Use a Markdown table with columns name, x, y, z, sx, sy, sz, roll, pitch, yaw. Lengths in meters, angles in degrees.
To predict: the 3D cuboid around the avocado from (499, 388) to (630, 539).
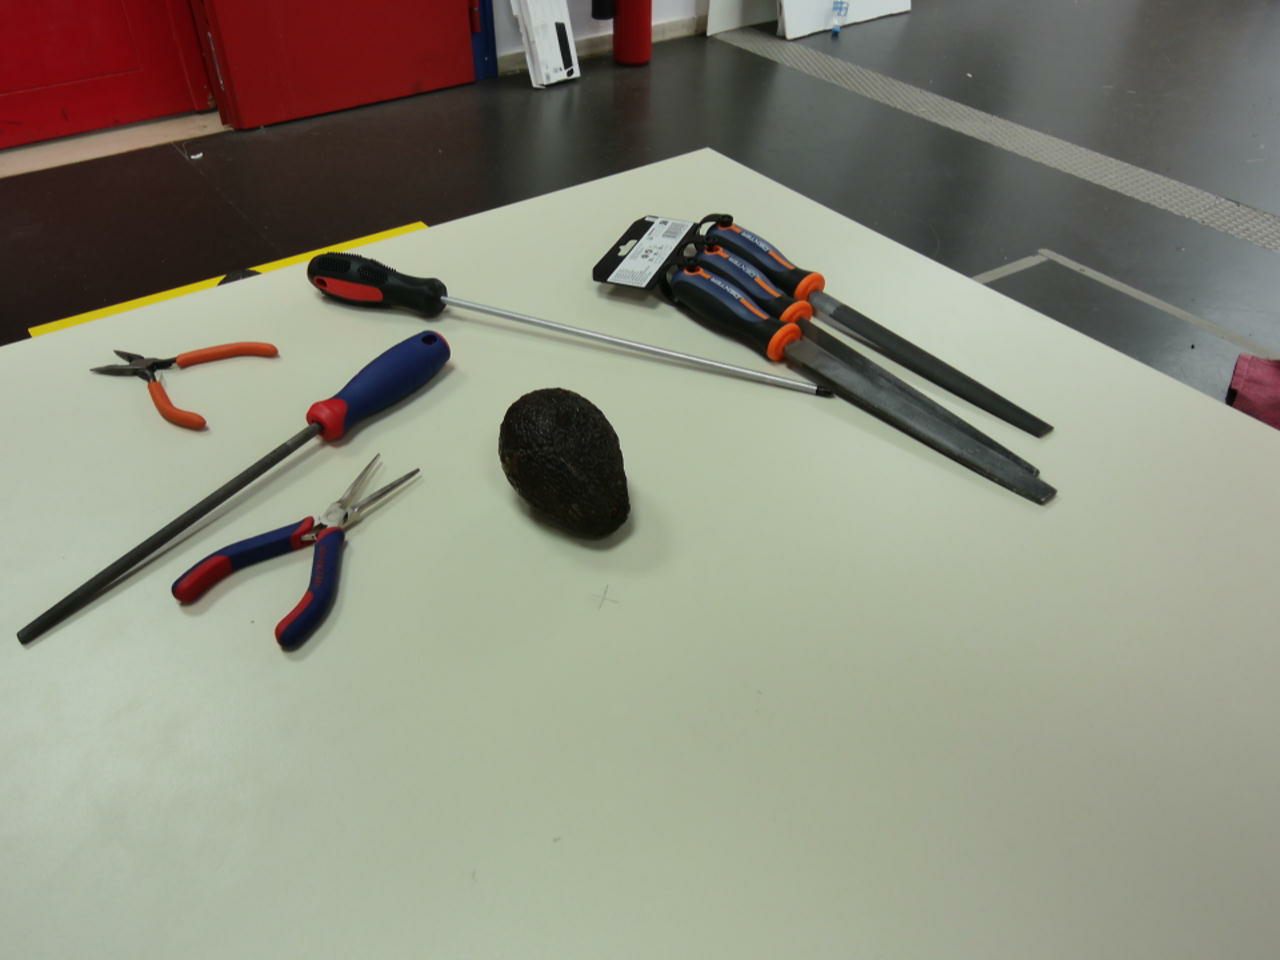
| name | x | y | z | sx | sy | sz | roll | pitch | yaw |
| --- | --- | --- | --- | --- | --- | --- | --- | --- | --- |
| avocado | -0.045 | -0.012 | 0.575 | 0.070 | 0.069 | 0.090 | -6 | 39 | -10 |
